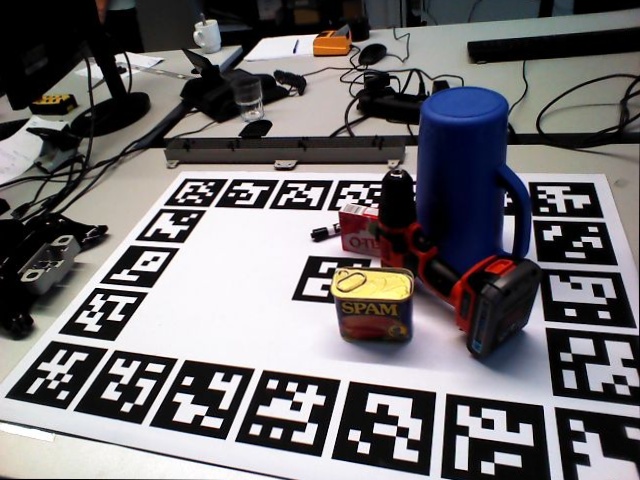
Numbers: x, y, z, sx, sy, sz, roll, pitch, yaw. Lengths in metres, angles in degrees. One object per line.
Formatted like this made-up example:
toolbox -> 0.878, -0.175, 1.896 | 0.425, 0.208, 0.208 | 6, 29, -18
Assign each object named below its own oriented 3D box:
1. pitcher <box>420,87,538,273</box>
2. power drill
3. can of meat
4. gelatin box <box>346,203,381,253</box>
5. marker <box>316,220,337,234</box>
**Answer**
pitcher -> 0.215, -0.071, 0.698 | 0.132, 0.243, 0.189 | -37, 38, -25
power drill -> 0.146, 0.009, 0.651 | 0.057, 0.185, 0.187 | -35, 50, -24
can of meat -> 0.072, 0.082, 0.653 | 0.102, 0.084, 0.057 | 2, 38, 16
gelatin box -> 0.087, -0.015, 0.785 | 0.090, 0.073, 0.030 | 12, 47, 24
marker -> 0.052, -0.033, 0.856 | 0.121, 0.020, 0.019 | -15, 39, -3
